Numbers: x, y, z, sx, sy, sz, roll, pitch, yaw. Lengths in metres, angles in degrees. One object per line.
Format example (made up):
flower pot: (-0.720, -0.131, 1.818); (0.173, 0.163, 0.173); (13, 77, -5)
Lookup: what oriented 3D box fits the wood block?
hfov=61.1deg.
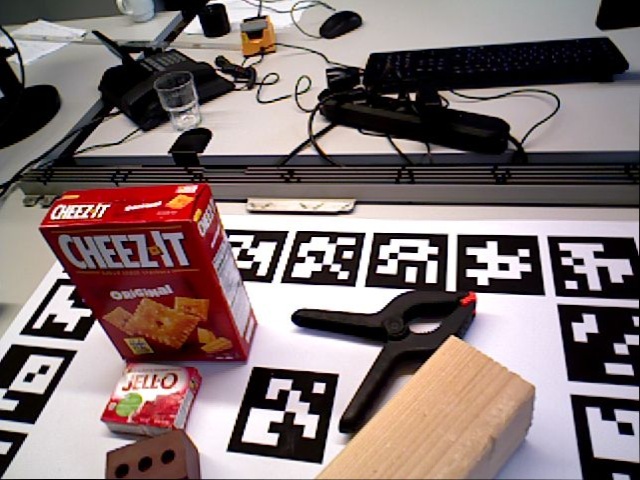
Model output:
wood block: (0.084, 0.196, 0.461); (0.202, 0.092, 0.090); (-37, 47, -25)

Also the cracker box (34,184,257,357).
cracker box: (-0.171, 0.038, 0.578); (0.164, 0.218, 0.070); (0, 45, 10)

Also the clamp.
clamp: (0.076, 0.105, 0.585); (0.201, 0.037, 0.164); (-22, 46, -7)

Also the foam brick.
foam brick: (-0.164, 0.228, 0.513); (0.077, 0.052, 0.052); (-17, 46, -3)

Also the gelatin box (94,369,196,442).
gelatin box: (-0.187, 0.179, 0.586); (0.089, 0.030, 0.072); (0, 48, 14)
